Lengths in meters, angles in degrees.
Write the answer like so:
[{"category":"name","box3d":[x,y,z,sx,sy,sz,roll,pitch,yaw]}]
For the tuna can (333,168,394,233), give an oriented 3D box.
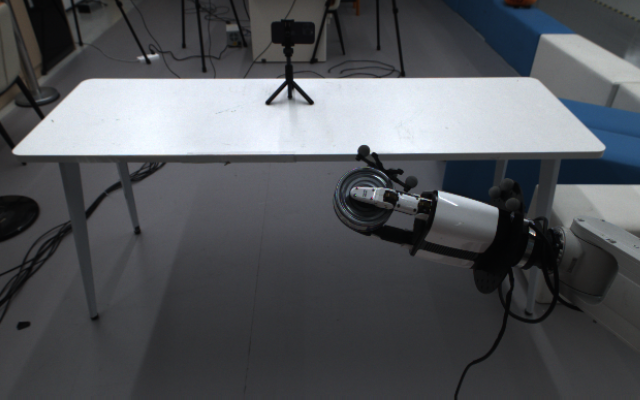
[{"category":"tuna can","box3d":[0.066,0.005,0.664,0.085,0.034,0.085,0,74,0]}]
